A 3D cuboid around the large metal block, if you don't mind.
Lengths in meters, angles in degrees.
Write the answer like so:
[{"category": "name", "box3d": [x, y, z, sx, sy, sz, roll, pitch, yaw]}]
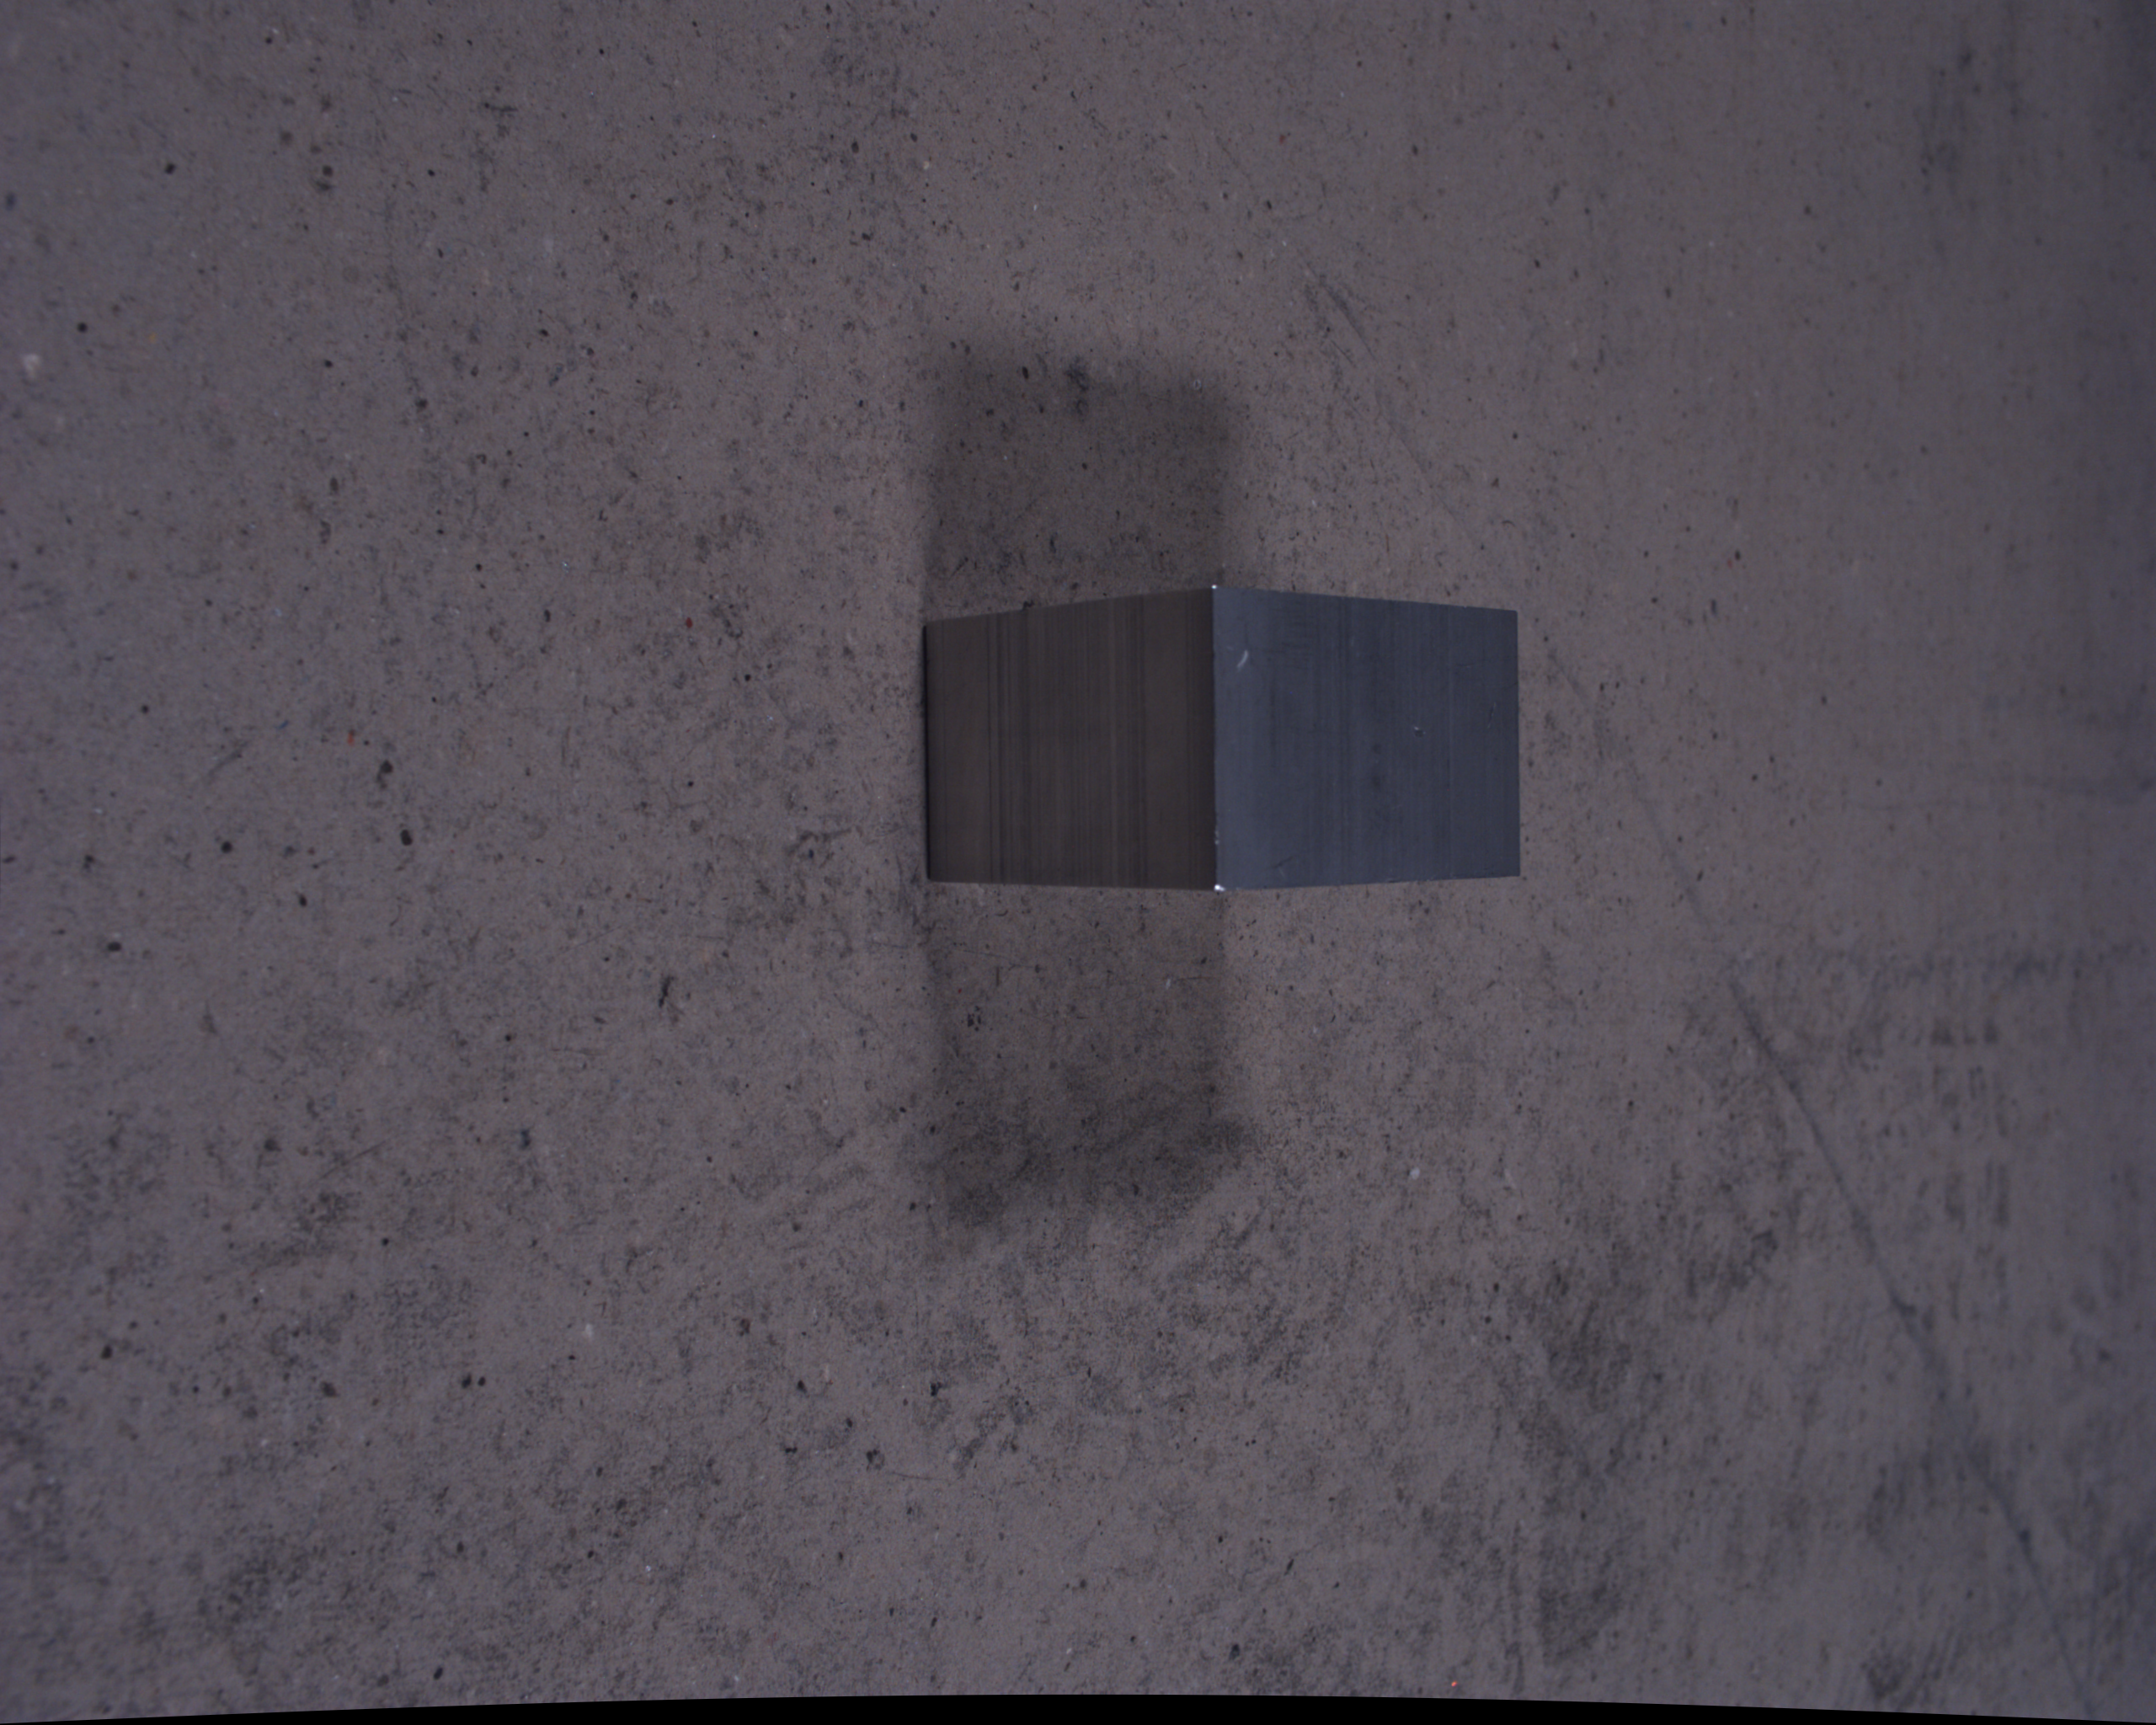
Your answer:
[{"category": "large metal block", "box3d": [0.027, -0.022, 0.395, 0.081, 0.080, 0.050, -2, 92, -40]}]
